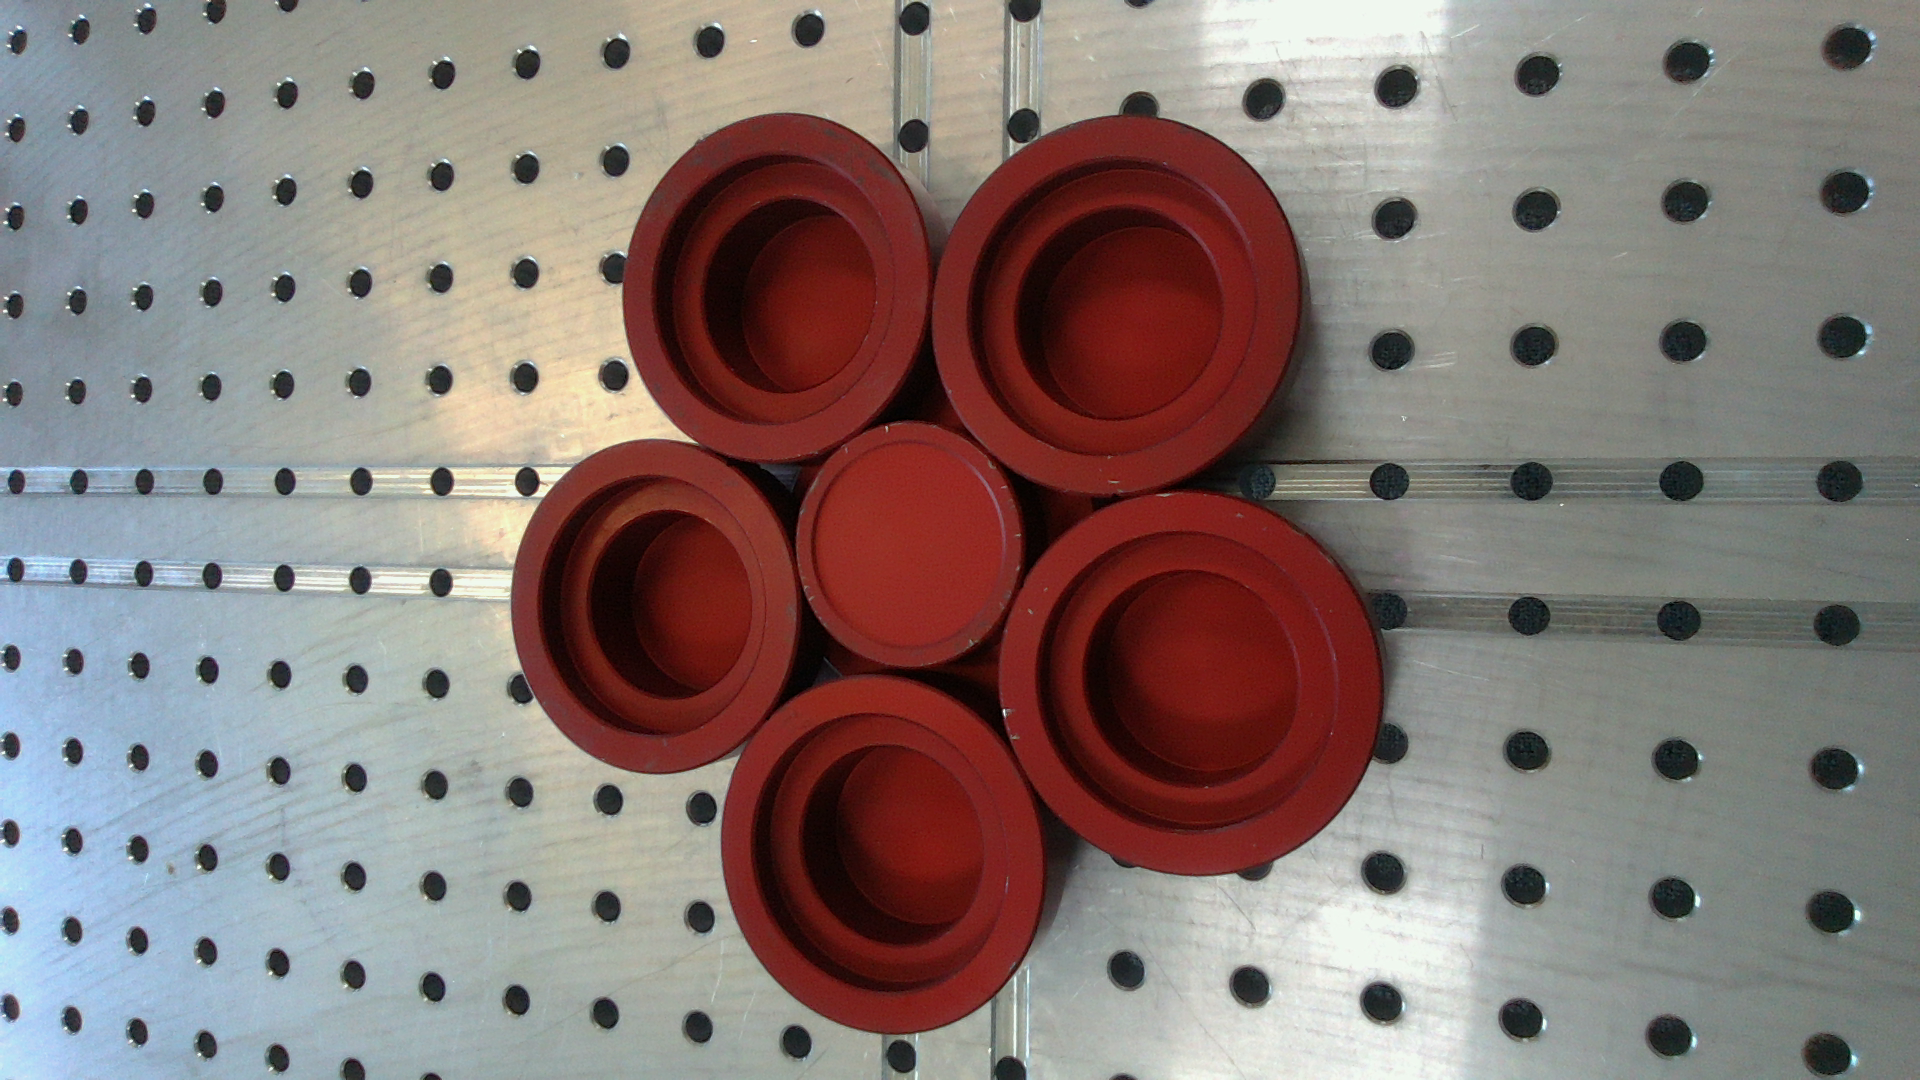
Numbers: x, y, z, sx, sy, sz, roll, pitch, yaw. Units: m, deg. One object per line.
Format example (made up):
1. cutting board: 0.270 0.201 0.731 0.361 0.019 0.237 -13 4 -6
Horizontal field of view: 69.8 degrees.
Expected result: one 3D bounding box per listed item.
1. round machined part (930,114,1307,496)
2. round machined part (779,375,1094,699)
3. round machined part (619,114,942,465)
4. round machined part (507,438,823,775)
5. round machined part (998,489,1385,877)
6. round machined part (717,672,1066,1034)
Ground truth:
1. round machined part: 0.045 -0.060 0.373 0.098 0.042 0.098 0 90 20
2. round machined part: -0.009 0.001 0.392 0.098 0.042 0.098 0 90 20
3. round machined part: -0.047 -0.071 0.406 0.098 0.042 0.098 0 90 20
4. round machined part: -0.085 0.019 0.419 0.098 0.042 0.098 0 90 20
5. round machined part: 0.063 0.036 0.367 0.098 0.042 0.098 0 90 20
6. round machined part: -0.017 0.086 0.395 0.098 0.042 0.098 0 90 20
